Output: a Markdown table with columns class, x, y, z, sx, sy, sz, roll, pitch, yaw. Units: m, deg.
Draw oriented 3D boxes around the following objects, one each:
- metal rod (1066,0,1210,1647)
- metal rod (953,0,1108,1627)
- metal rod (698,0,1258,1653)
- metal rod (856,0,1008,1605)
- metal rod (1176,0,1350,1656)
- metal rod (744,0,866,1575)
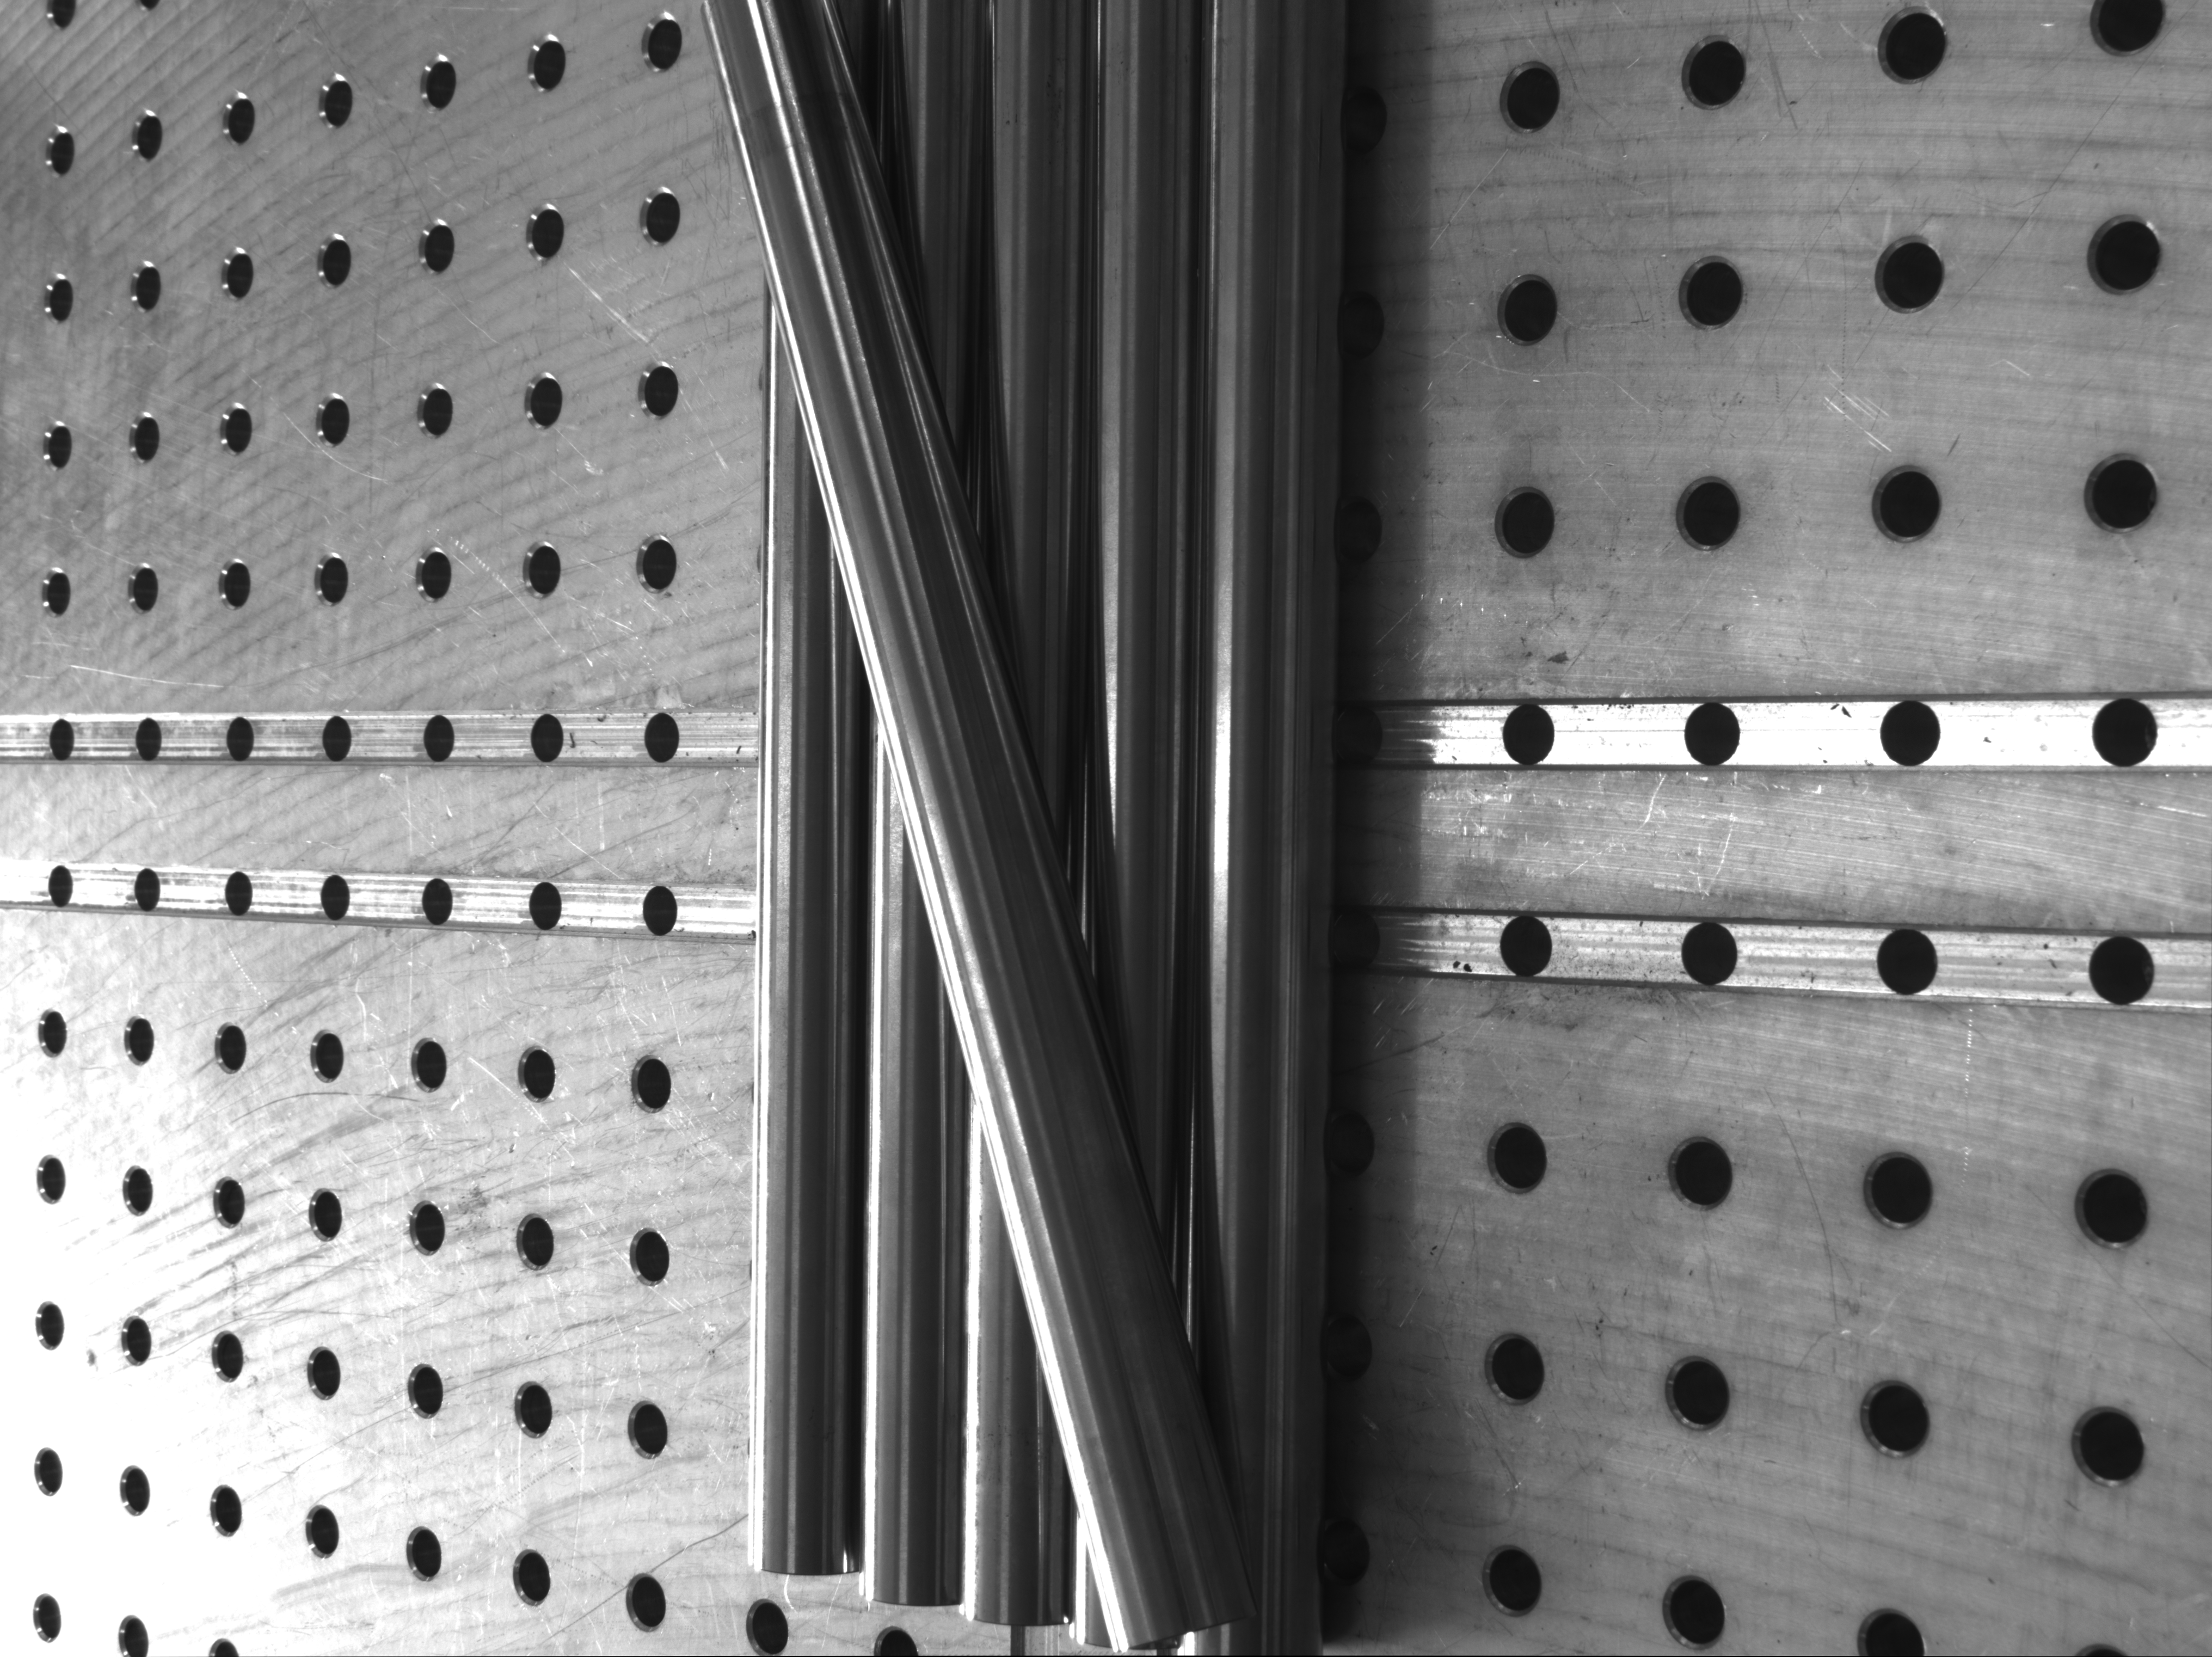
| class | x | y | z | sx | sy | sz | roll | pitch | yaw |
| --- | --- | --- | --- | --- | --- | --- | --- | --- | --- |
| metal rod | 0.007 | -0.009 | 0.644 | 0.025 | 0.025 | 0.300 | 1 | 91 | 40 |
| metal rod | -0.013 | -0.009 | 0.659 | 0.025 | 0.025 | 0.300 | 1 | 91 | 40 |
| metal rod | -0.025 | -0.009 | 0.637 | 0.025 | 0.025 | 0.300 | -24 | 74 | 38 |
| metal rod | -0.032 | -0.010 | 0.675 | 0.025 | 0.025 | 0.300 | 1 | 91 | 40 |
| metal rod | 0.027 | -0.008 | 0.627 | 0.025 | 0.025 | 0.300 | 2 | 91 | 40 |
| metal rod | -0.054 | -0.011 | 0.693 | 0.025 | 0.025 | 0.300 | 1 | 91 | 40 |
